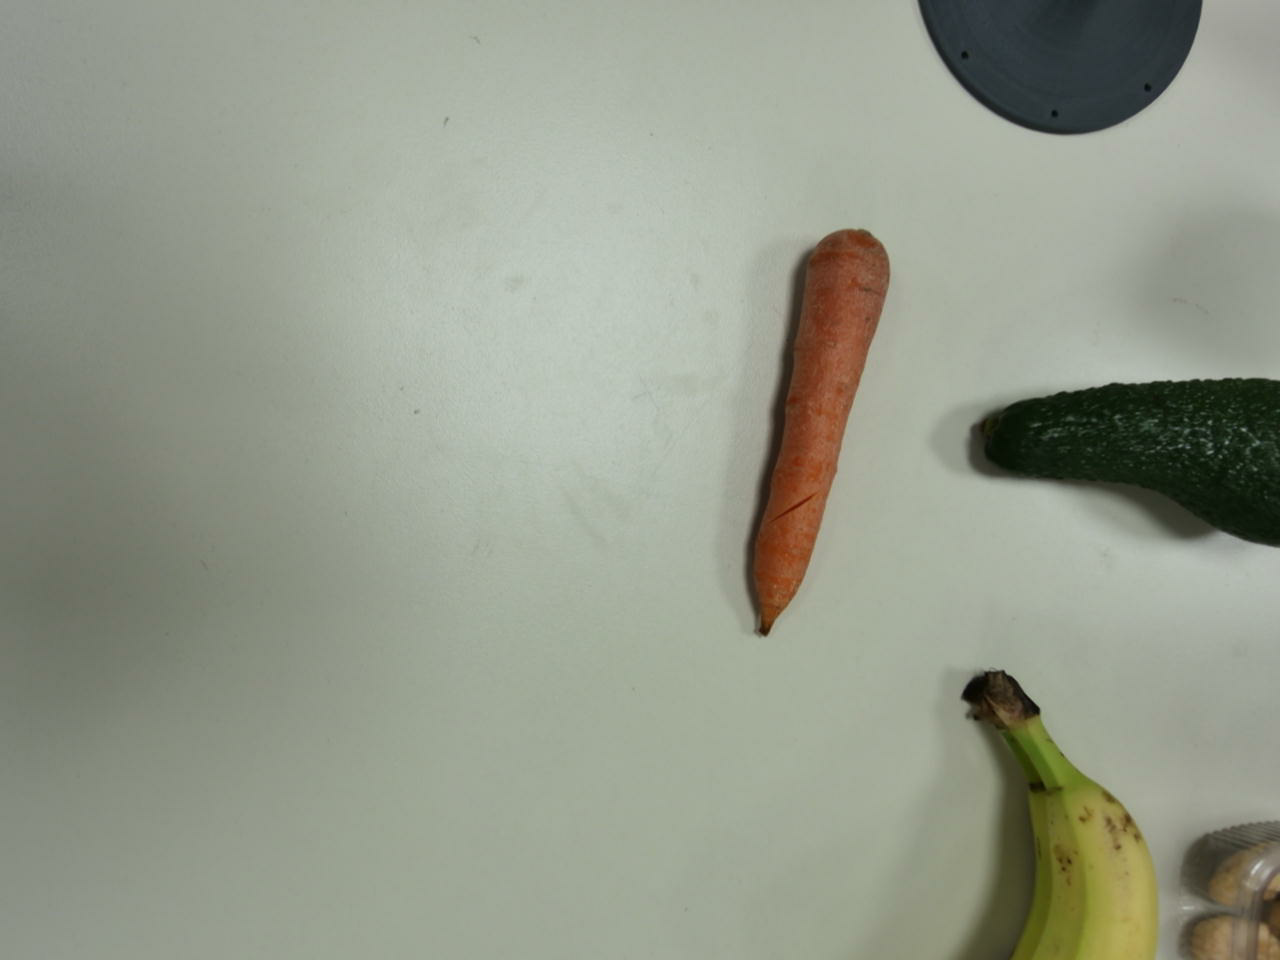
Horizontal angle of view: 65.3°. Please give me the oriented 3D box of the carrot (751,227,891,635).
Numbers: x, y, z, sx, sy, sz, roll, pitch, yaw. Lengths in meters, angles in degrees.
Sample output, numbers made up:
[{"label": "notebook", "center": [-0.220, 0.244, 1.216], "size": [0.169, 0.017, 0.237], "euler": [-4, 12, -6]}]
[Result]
[{"label": "carrot", "center": [0.083, -0.021, 0.470], "size": [0.039, 0.041, 0.196], "euler": [11, 88, -12]}]
